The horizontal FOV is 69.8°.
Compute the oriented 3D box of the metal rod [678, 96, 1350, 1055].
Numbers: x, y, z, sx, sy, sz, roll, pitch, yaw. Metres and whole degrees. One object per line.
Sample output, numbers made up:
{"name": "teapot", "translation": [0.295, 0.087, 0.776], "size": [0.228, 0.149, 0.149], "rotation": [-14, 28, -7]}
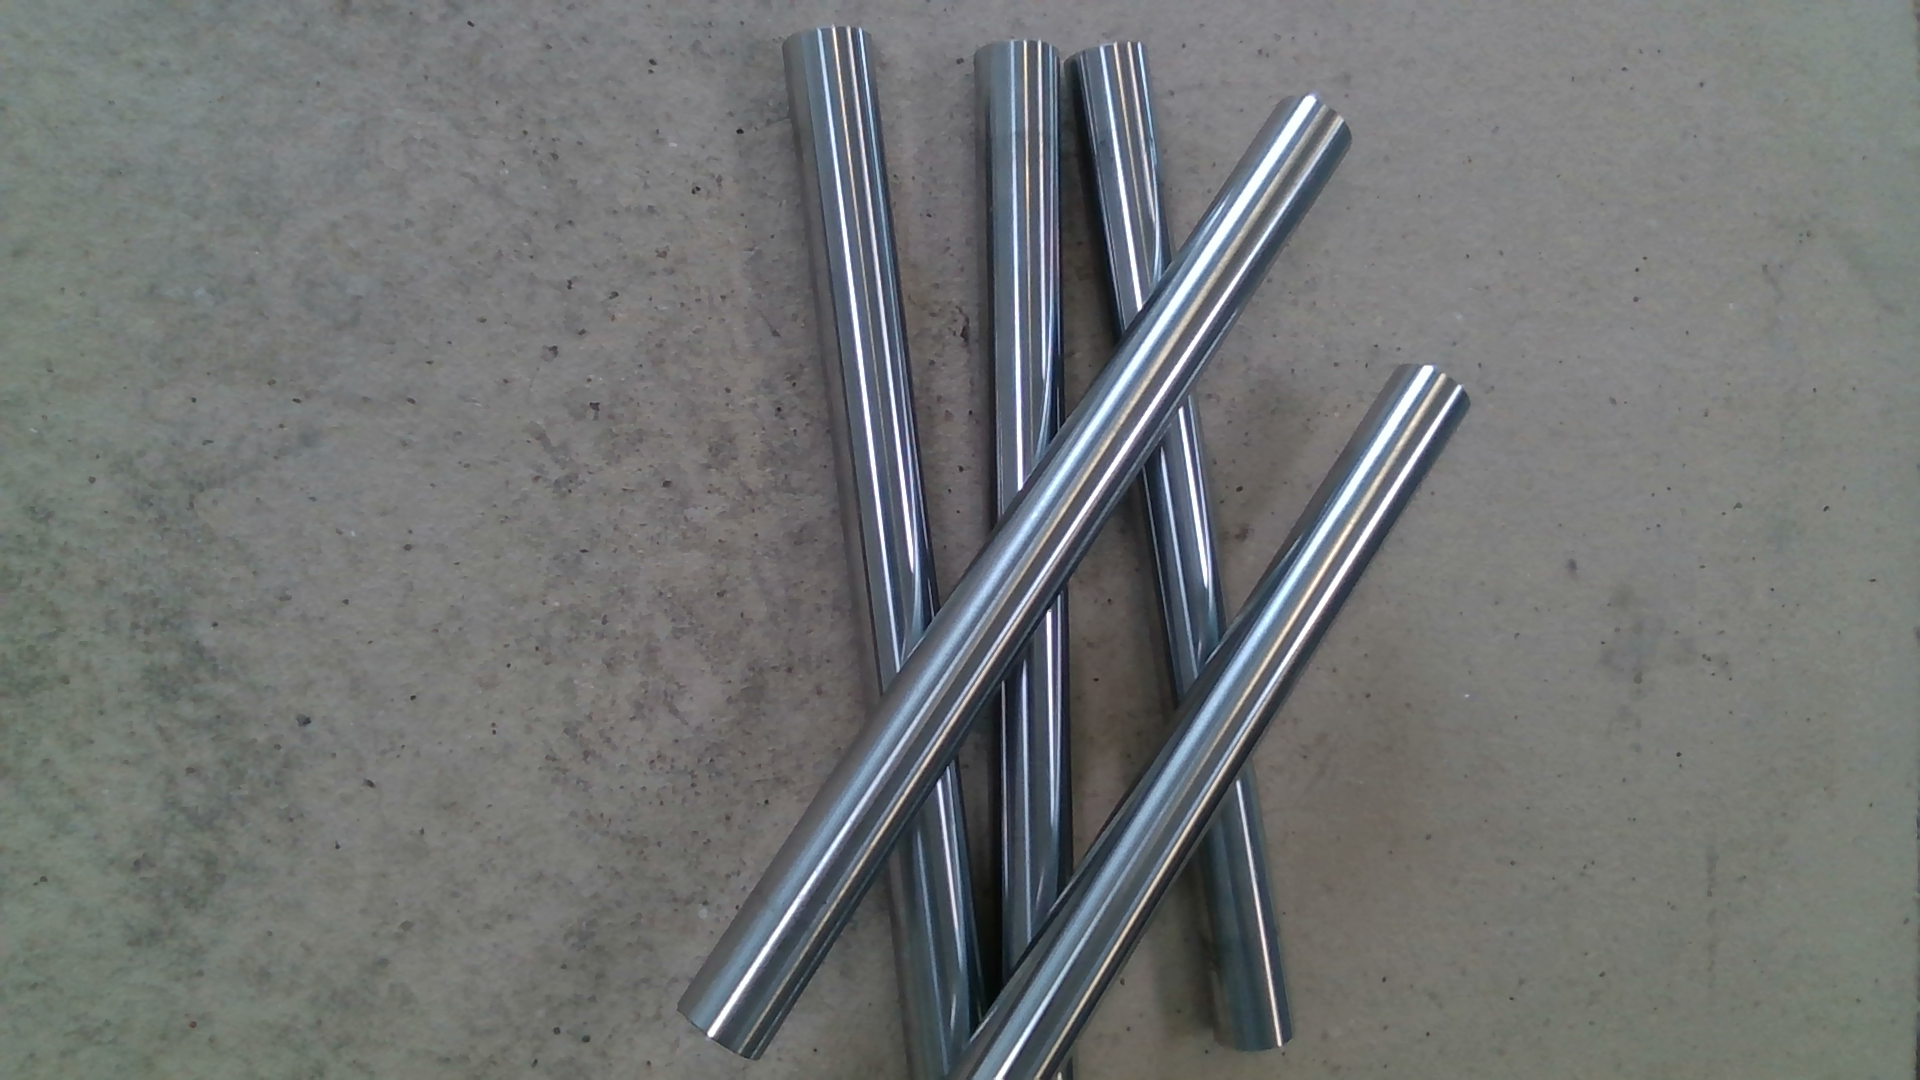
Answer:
{"name": "metal rod", "translation": [0.022, 0.000, 0.376], "size": [0.025, 0.025, 0.300], "rotation": [37, 78, -16]}

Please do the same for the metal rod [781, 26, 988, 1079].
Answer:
{"name": "metal rod", "translation": [-0.019, 0.011, 0.387], "size": [0.025, 0.025, 0.300], "rotation": [-8, 93, -20]}

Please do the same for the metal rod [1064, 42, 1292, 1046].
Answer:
{"name": "metal rod", "translation": [0.067, 0.004, 0.419], "size": [0.025, 0.025, 0.300], "rotation": [-11, 94, -20]}

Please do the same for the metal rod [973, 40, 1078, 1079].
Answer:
{"name": "metal rod", "translation": [0.019, 0.009, 0.401], "size": [0.025, 0.025, 0.300], "rotation": [-1, 91, -20]}

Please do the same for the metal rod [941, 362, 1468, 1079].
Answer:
{"name": "metal rod", "translation": [0.059, 0.074, 0.390], "size": [0.025, 0.025, 0.300], "rotation": [38, 78, -16]}
